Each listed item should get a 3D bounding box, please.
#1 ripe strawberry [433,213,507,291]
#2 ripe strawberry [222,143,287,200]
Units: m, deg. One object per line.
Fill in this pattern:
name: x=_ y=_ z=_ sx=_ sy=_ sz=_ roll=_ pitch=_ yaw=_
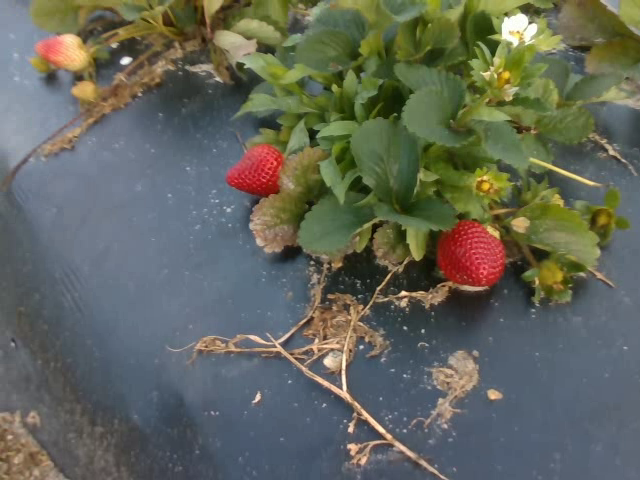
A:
ripe strawberry: x=0.091 y=0.010 z=0.364 sx=0.043 sy=0.047 sz=0.046 roll=-27 pitch=28 yaw=10
ripe strawberry: x=-0.045 y=-0.047 z=0.432 sx=0.050 sy=0.043 sz=0.043 roll=-24 pitch=-36 yaw=-19
